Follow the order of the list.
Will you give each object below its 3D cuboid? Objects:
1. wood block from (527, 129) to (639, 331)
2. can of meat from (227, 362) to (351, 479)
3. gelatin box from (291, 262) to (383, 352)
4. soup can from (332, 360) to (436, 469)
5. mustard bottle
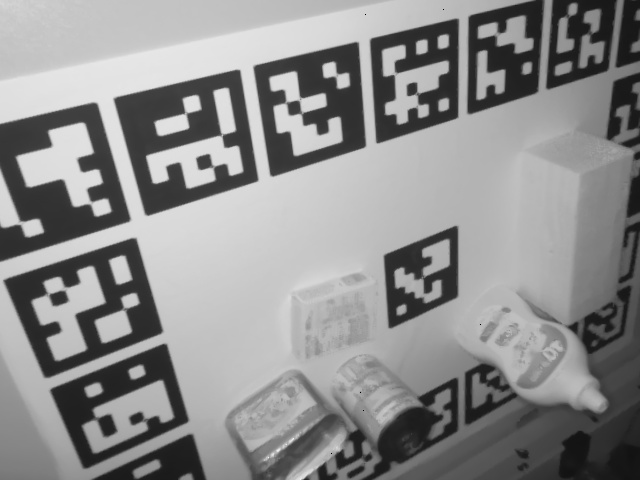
[{"bbox_3d":[0.309,-0.009,0.793,0.092,0.089,0.204,-16,123,-20],"label":"wood block"},{"bbox_3d":[-0.034,0.179,0.688,0.103,0.083,0.057,-29,122,-12],"label":"can of meat"},{"bbox_3d":[0.016,0.066,0.692,0.091,0.030,0.073,-9,114,-29],"label":"gelatin box"},{"bbox_3d":[0.064,0.178,0.720,0.069,0.101,0.067,-12,116,-25],"label":"soup can"},{"bbox_3d":[0.251,0.129,0.766,0.096,0.190,0.058,-39,126,-6],"label":"mustard bottle"}]
